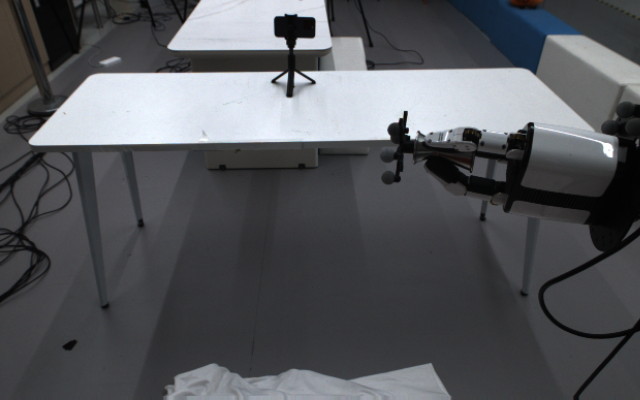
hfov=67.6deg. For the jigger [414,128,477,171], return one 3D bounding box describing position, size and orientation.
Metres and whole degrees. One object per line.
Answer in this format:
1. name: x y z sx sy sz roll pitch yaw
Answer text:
1. jigger: 0.151 -0.065 0.569 0.071 0.043 0.043 7 35 16
